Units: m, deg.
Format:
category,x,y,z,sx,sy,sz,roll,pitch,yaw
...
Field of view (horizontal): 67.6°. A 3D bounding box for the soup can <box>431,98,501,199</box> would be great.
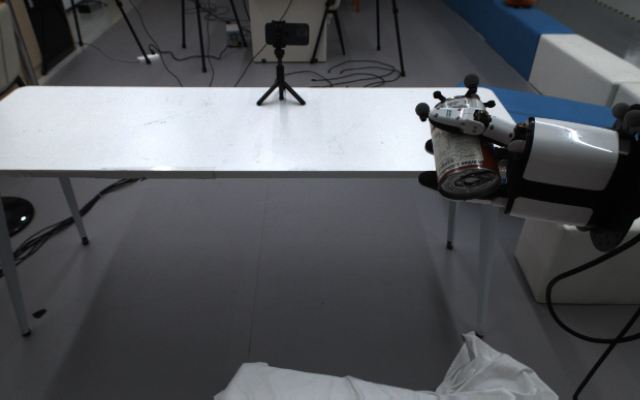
category,x,y,z,sx,sy,sz,roll,pitch,yaw
soup can,0.166,-0.061,0.560,0.067,0.067,0.101,1,62,-2
